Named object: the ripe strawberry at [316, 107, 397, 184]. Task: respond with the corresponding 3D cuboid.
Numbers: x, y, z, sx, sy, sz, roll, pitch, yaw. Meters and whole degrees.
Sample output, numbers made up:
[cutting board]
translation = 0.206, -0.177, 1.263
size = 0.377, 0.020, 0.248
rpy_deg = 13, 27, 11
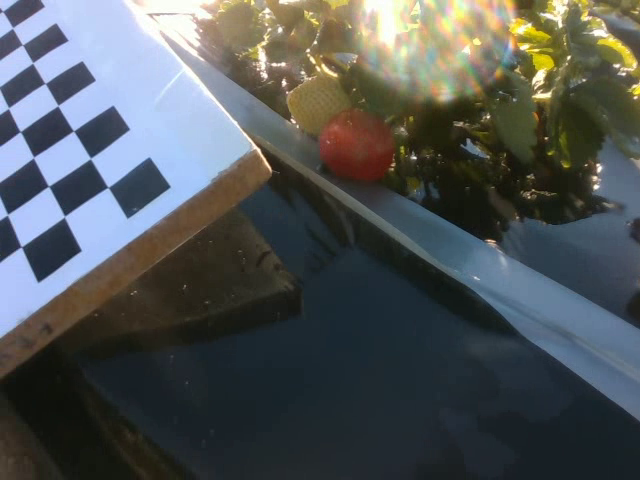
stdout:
[ripe strawberry]
translation = 0.017, -0.052, 0.329
size = 0.045, 0.049, 0.063
rpy_deg = -19, -7, 11
